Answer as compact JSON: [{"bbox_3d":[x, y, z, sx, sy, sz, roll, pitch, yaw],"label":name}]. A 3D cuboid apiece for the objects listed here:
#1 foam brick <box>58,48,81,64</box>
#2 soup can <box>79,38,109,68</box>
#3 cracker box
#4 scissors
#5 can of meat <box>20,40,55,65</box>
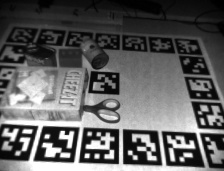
[{"bbox_3d":[-0.151,-0.103,0.767,0.078,0.051,0.052,-5,53,-8],"label":"foam brick"},{"bbox_3d":[-0.068,-0.120,0.787,0.068,0.068,0.101,-28,54,-23],"label":"soup can"},{"bbox_3d":[-0.200,0.013,0.639,0.214,0.072,0.163,-2,51,-2],"label":"cracker box"},{"bbox_3d":[-0.087,0.067,0.647,0.203,0.016,0.087,0,53,-5],"label":"scissors"},{"bbox_3d":[-0.246,-0.096,0.728,0.101,0.084,0.058,15,53,6],"label":"can of meat"}]
